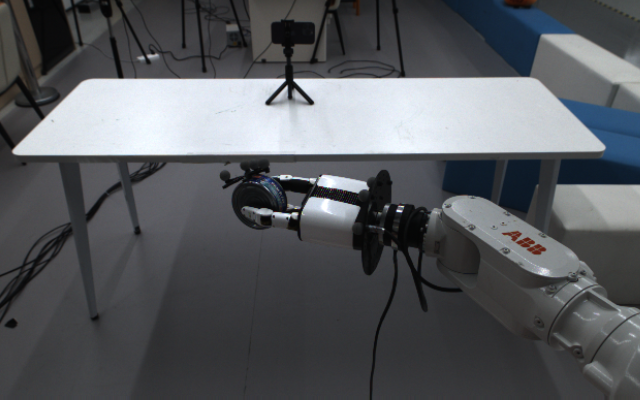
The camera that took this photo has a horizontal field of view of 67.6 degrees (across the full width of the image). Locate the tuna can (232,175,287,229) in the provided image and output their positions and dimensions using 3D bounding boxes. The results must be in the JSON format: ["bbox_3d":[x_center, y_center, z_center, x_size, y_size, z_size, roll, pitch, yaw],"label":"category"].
[{"bbox_3d":[-0.094,0.010,0.773,0.085,0.085,0.034,14,30,17],"label":"tuna can"}]
